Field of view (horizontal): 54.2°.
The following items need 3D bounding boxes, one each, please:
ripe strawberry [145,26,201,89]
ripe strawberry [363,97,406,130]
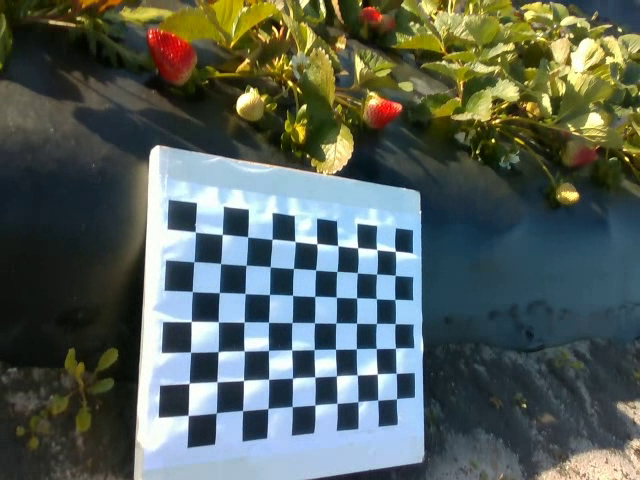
[{"bbox_3d":[-0.120,-0.146,0.482,0.053,0.044,0.036,39,-24,-33],"label":"ripe strawberry"},{"bbox_3d":[0.060,-0.121,0.587,0.045,0.037,0.042,-12,4,28],"label":"ripe strawberry"}]
